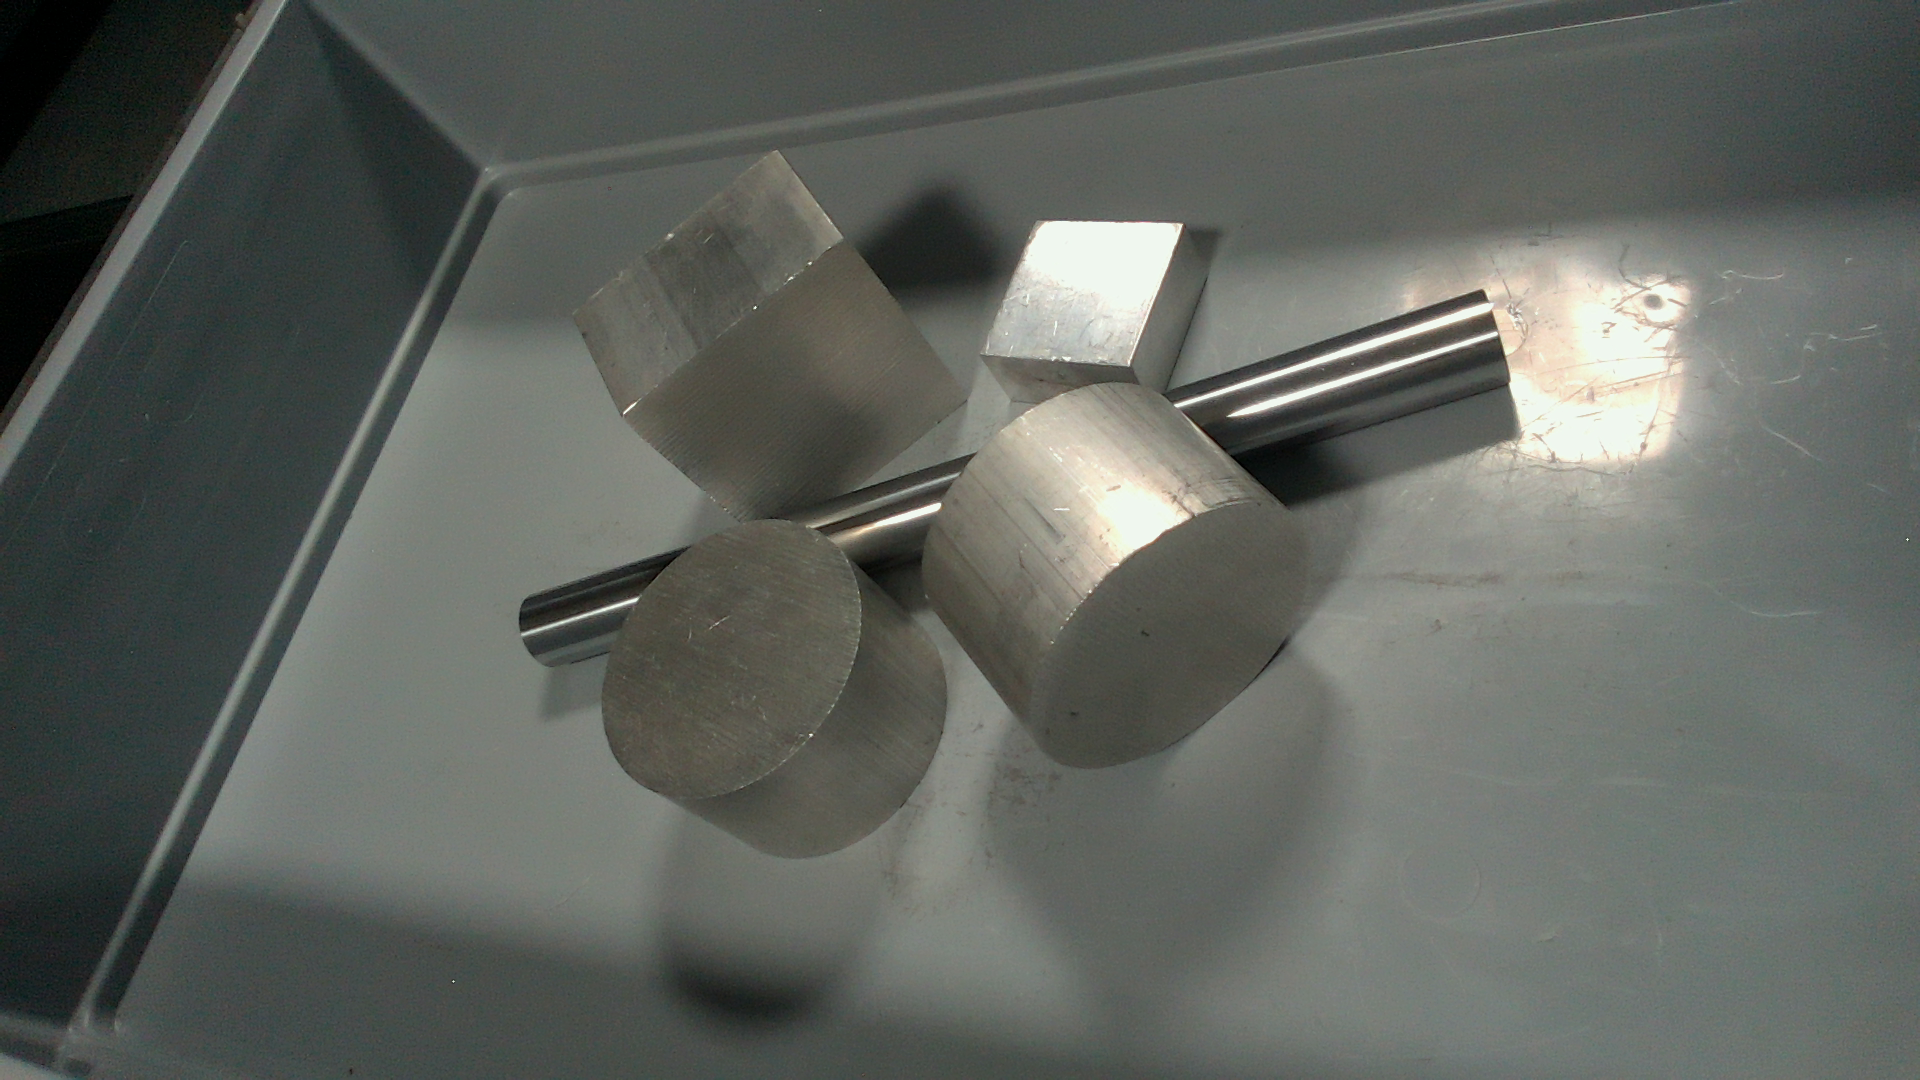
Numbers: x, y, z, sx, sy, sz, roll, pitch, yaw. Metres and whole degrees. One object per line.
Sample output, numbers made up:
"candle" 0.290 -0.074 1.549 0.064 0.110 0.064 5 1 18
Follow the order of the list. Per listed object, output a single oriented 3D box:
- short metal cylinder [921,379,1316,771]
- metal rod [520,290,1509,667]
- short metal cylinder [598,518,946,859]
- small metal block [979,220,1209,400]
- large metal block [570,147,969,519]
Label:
"short metal cylinder" 0.038 0.009 0.332 0.080 0.080 0.050 -41 51 1
"metal rod" 0.001 -0.011 0.399 0.299 0.025 0.025 -17 55 19
"short metal cylinder" -0.051 0.041 0.378 0.080 0.050 0.080 -14 56 21
"small metal block" 0.041 -0.068 0.412 0.050 0.025 0.050 9 66 32
"large metal block" -0.057 -0.057 0.424 0.080 0.080 0.050 -38 51 3
